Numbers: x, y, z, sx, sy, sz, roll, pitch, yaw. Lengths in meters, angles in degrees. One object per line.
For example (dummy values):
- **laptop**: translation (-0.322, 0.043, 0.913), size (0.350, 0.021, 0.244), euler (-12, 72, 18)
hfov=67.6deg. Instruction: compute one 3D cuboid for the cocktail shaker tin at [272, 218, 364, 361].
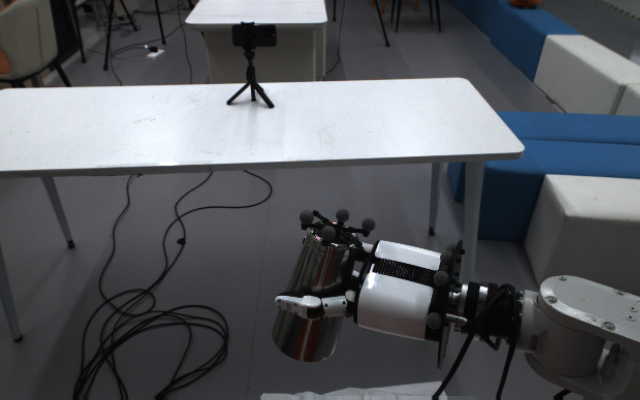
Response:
- **cocktail shaker tin**: translation (0.000, 0.115, 0.639), size (0.093, 0.170, 0.093), euler (12, 24, -5)
